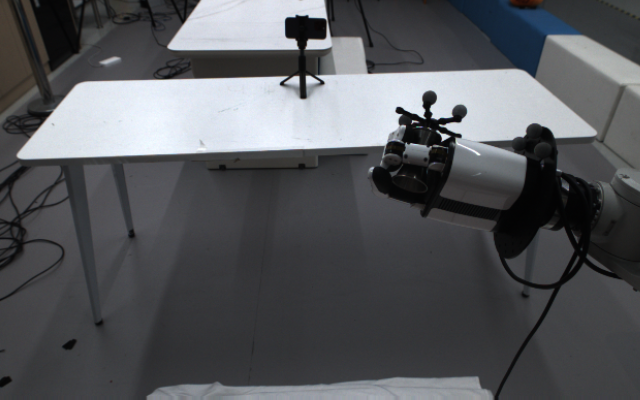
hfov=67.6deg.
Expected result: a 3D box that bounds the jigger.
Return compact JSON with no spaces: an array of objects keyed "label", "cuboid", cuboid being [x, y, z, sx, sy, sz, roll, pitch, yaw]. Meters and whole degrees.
[{"label":"jigger","cuboid":[0.118,-0.050,0.578,0.043,0.043,0.071,14,70,17]}]
